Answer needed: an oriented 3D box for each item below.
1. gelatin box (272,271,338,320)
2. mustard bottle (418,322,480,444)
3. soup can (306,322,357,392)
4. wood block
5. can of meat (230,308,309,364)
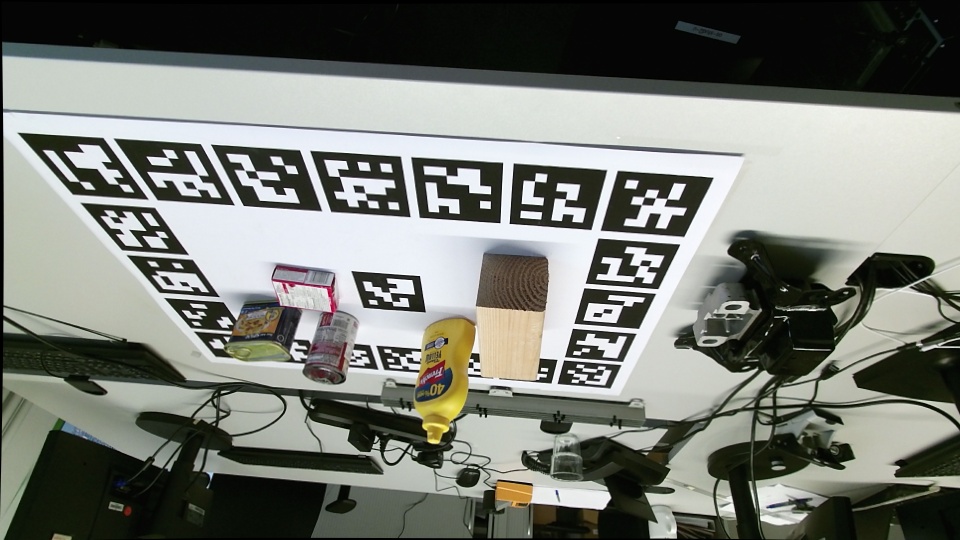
[{"bbox_3d":[-0.262,0.039,0.809,0.090,0.030,0.073,8,140,-6],"label":"gelatin box"},{"bbox_3d":[-0.053,0.176,0.839,0.096,0.190,0.058,-12,139,25],"label":"mustard bottle"},{"bbox_3d":[-0.244,0.144,0.875,0.068,0.101,0.068,3,141,3],"label":"soup can"},{"bbox_3d":[0.048,0.082,0.778,0.091,0.089,0.206,5,146,4],"label":"wood block"},{"bbox_3d":[-0.340,0.109,0.875,0.102,0.083,0.058,-3,141,16],"label":"can of meat"}]
